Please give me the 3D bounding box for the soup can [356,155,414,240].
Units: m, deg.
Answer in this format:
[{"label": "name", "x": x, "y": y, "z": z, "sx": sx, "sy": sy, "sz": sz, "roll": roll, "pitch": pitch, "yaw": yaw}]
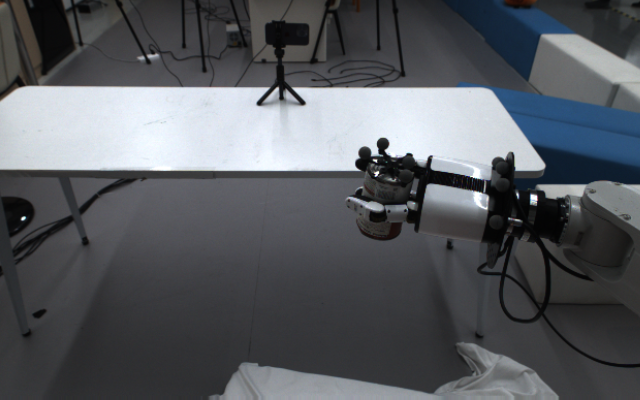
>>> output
[{"label": "soup can", "x": 0.093, "y": -0.002, "z": 0.689, "sx": 0.067, "sy": 0.101, "sz": 0.067, "roll": 5, "pitch": 37, "yaw": -4}]
